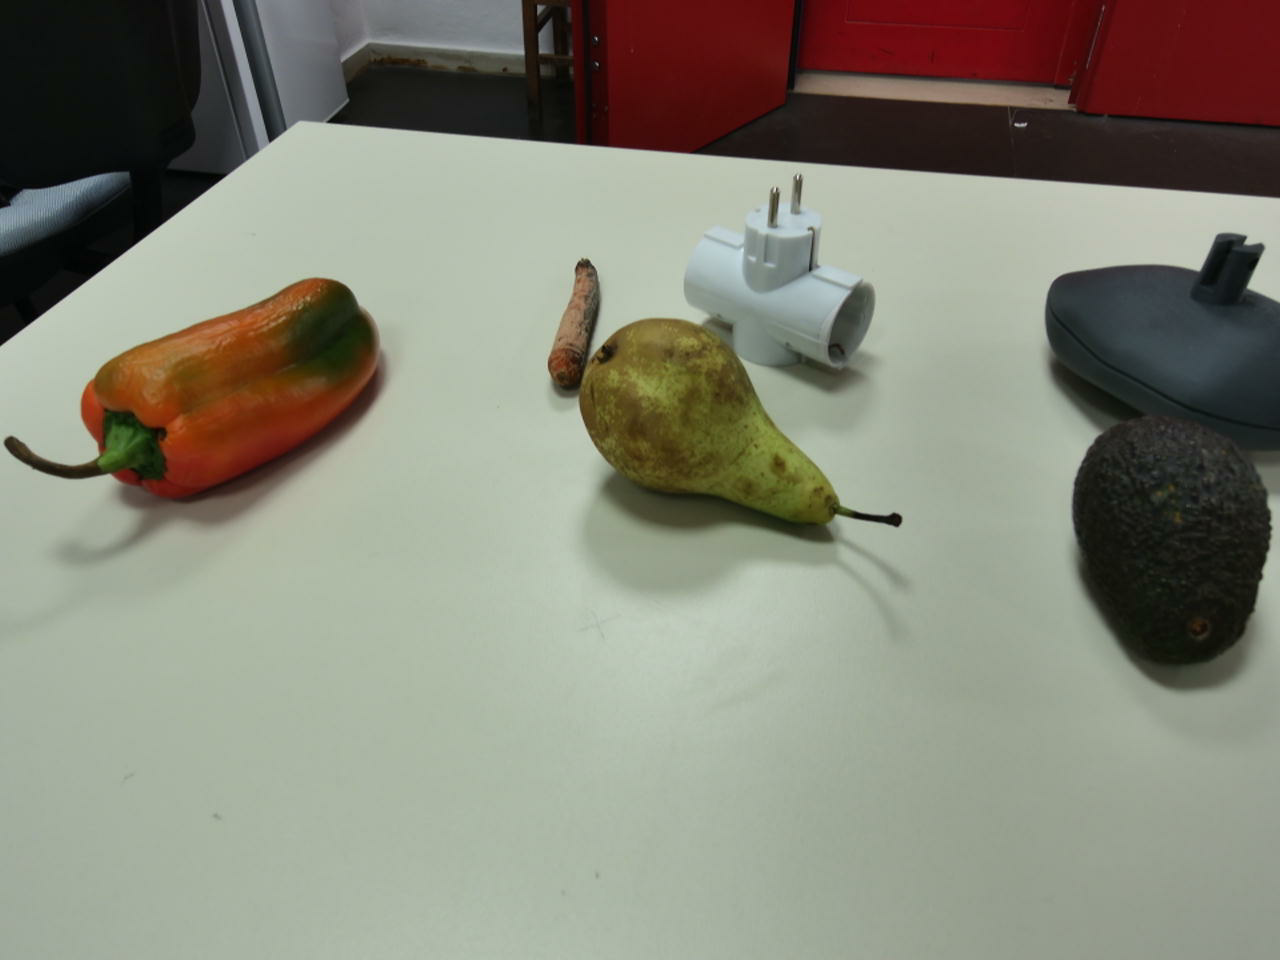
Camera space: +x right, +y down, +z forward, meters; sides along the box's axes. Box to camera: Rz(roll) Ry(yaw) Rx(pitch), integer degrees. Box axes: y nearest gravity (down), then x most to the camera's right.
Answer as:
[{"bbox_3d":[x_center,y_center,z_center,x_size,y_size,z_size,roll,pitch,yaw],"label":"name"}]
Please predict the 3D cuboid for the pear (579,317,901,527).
[{"bbox_3d":[0.044,-0.025,0.422,0.144,0.075,0.071,13,40,16],"label":"pear"}]
